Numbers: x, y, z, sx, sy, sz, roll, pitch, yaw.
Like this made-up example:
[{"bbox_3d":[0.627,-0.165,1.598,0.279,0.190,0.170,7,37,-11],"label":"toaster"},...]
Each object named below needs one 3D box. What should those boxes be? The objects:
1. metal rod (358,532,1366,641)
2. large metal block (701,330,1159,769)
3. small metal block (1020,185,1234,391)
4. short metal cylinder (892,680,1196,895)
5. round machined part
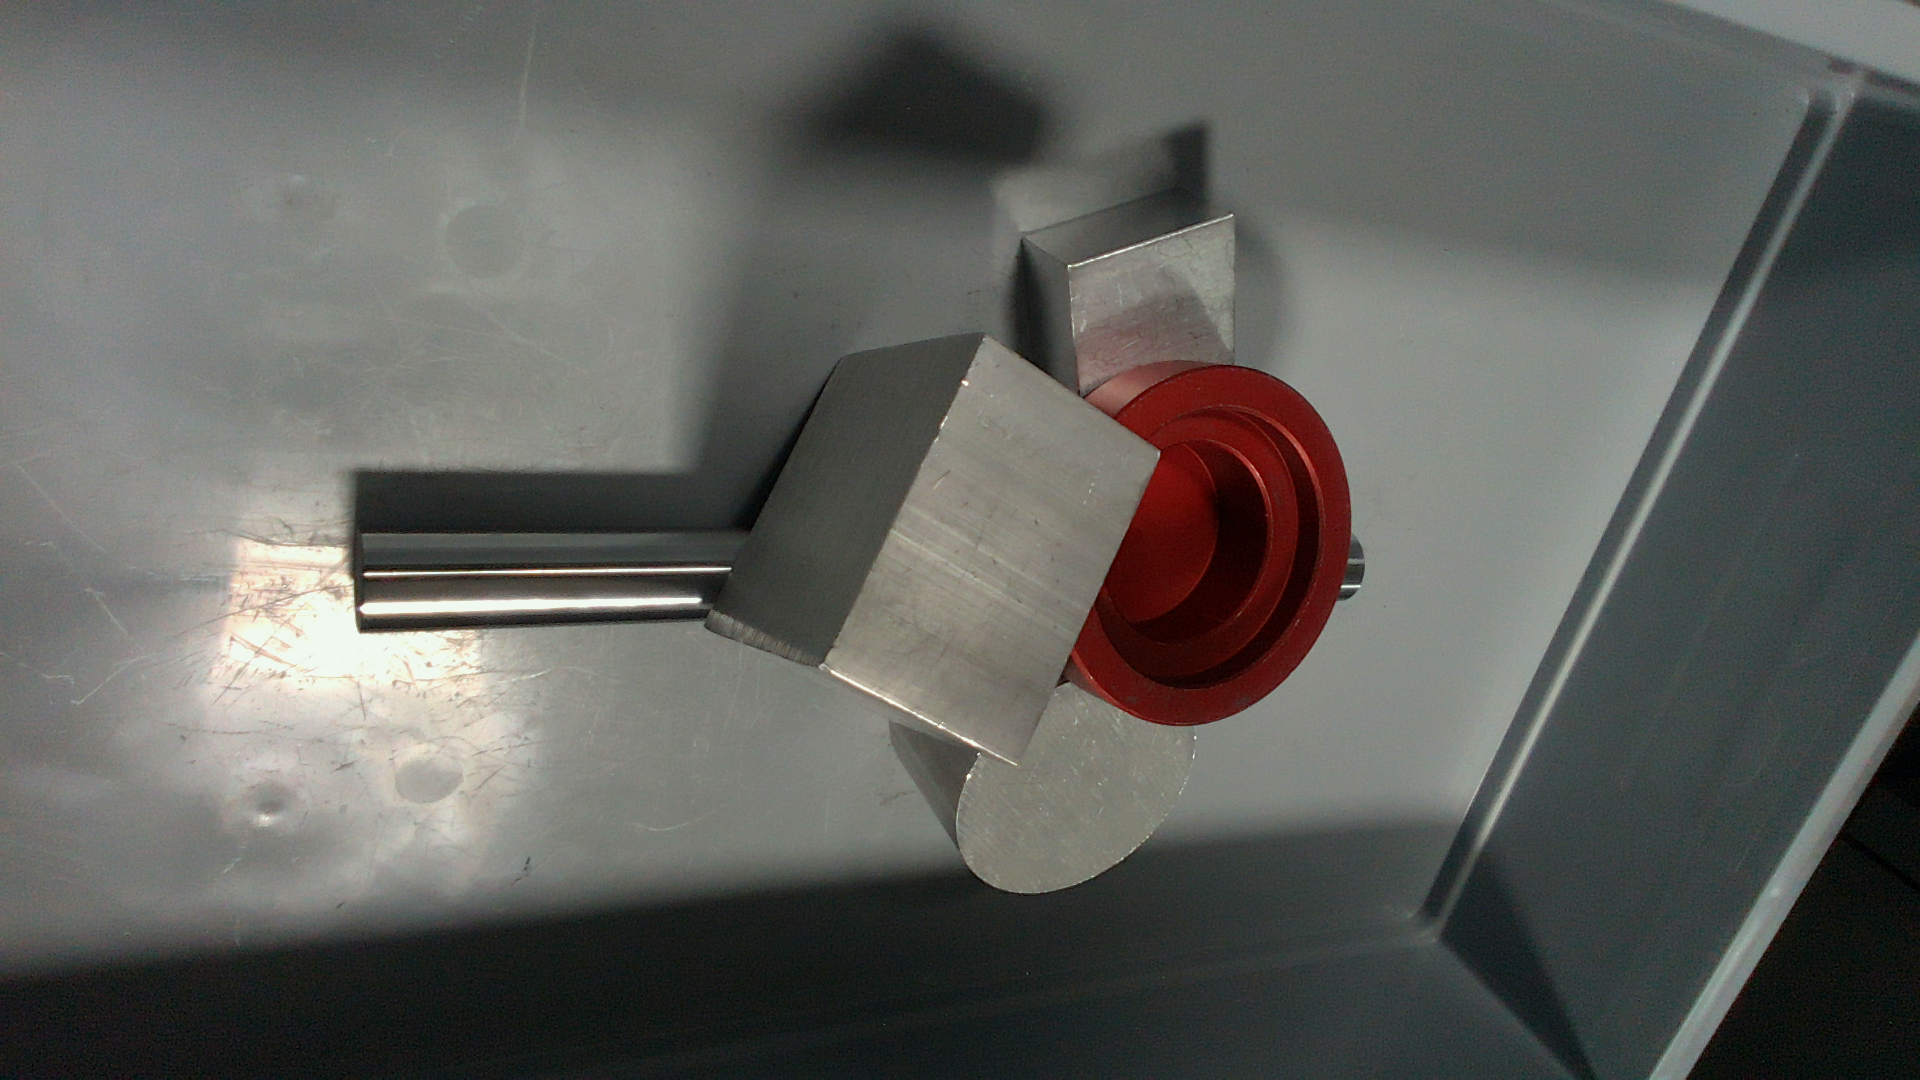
[{"bbox_3d":[-0.006,0.010,0.389,0.301,0.025,0.025,0,119,-28],"label":"metal rod"},{"bbox_3d":[-0.010,0.000,0.329,0.050,0.080,0.080,30,79,-26],"label":"large metal block"},{"bbox_3d":[0.046,-0.063,0.375,0.050,0.025,0.050,-19,126,-17],"label":"small metal block"},{"bbox_3d":[0.025,0.061,0.421,0.080,0.050,0.080,-14,124,-21],"label":"short metal cylinder"},{"bbox_3d":[0.058,-0.001,0.383,0.098,0.042,0.098,-6,104,-27],"label":"round machined part"}]
